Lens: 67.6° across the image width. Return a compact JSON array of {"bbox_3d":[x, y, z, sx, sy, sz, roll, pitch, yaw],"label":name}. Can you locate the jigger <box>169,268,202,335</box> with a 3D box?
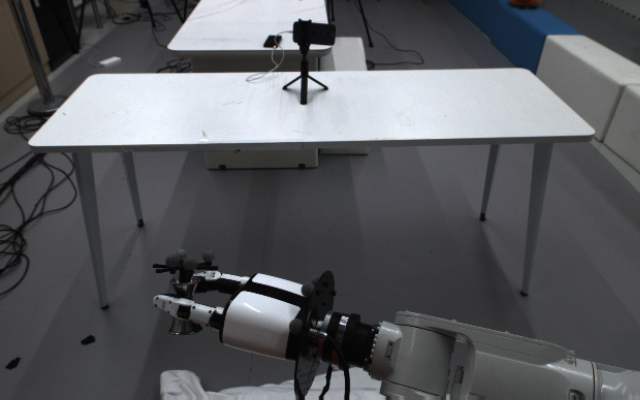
[{"bbox_3d":[-0.178,0.140,0.648,0.043,0.071,0.043,0,3,0],"label":"jigger"}]
